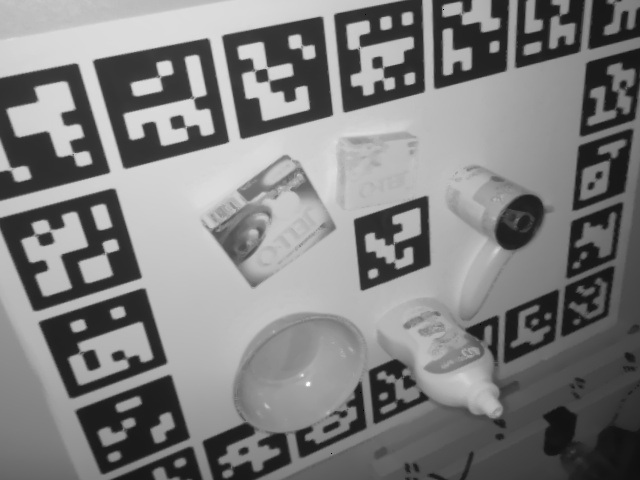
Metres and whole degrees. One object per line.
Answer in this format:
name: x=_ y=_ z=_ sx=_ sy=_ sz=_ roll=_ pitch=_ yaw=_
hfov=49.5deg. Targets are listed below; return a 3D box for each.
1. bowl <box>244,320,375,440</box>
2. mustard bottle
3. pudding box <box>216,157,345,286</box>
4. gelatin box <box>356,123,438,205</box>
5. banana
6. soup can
bowl: x=-0.019 y=0.149 z=0.799 sx=0.164 sy=0.055 sz=0.160 roll=-13 pitch=120 yaw=-22
mustard bottle: x=0.171 y=0.150 z=0.794 sx=0.097 sy=0.191 sz=0.058 roll=-17 pitch=124 yaw=-17
pudding box: x=-0.036 y=-0.017 z=0.714 sx=0.114 sy=0.038 sz=0.090 roll=-38 pitch=119 yaw=-5
gelatin box: x=0.084 y=-0.082 z=0.746 sx=0.090 sy=0.030 sz=0.073 roll=-11 pitch=116 yaw=-22
banana: x=0.268 y=0.035 z=0.891 sx=0.075 sy=0.038 sz=0.196 roll=24 pitch=102 yaw=-43
soup can: x=0.232 y=-0.032 z=0.790 sx=0.069 sy=0.102 sz=0.067 roll=-11 pitch=121 yaw=-18
